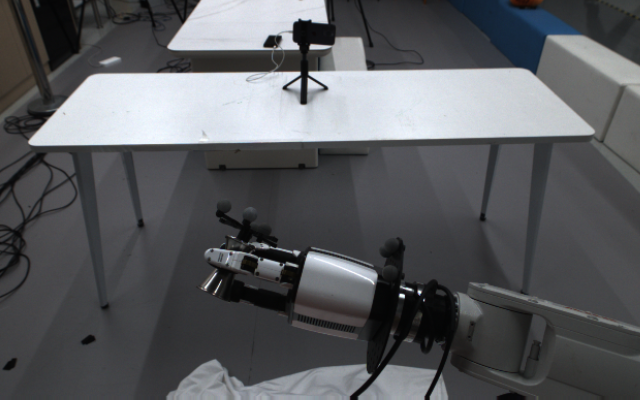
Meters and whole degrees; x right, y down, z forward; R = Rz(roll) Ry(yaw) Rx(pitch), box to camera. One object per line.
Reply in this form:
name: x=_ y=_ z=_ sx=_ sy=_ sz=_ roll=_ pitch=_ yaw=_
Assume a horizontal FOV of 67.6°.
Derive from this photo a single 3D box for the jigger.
jigger: x=-0.108 y=0.078 z=0.560 sx=0.043 sy=0.043 sz=0.071 roll=20 pitch=72 yaw=24
